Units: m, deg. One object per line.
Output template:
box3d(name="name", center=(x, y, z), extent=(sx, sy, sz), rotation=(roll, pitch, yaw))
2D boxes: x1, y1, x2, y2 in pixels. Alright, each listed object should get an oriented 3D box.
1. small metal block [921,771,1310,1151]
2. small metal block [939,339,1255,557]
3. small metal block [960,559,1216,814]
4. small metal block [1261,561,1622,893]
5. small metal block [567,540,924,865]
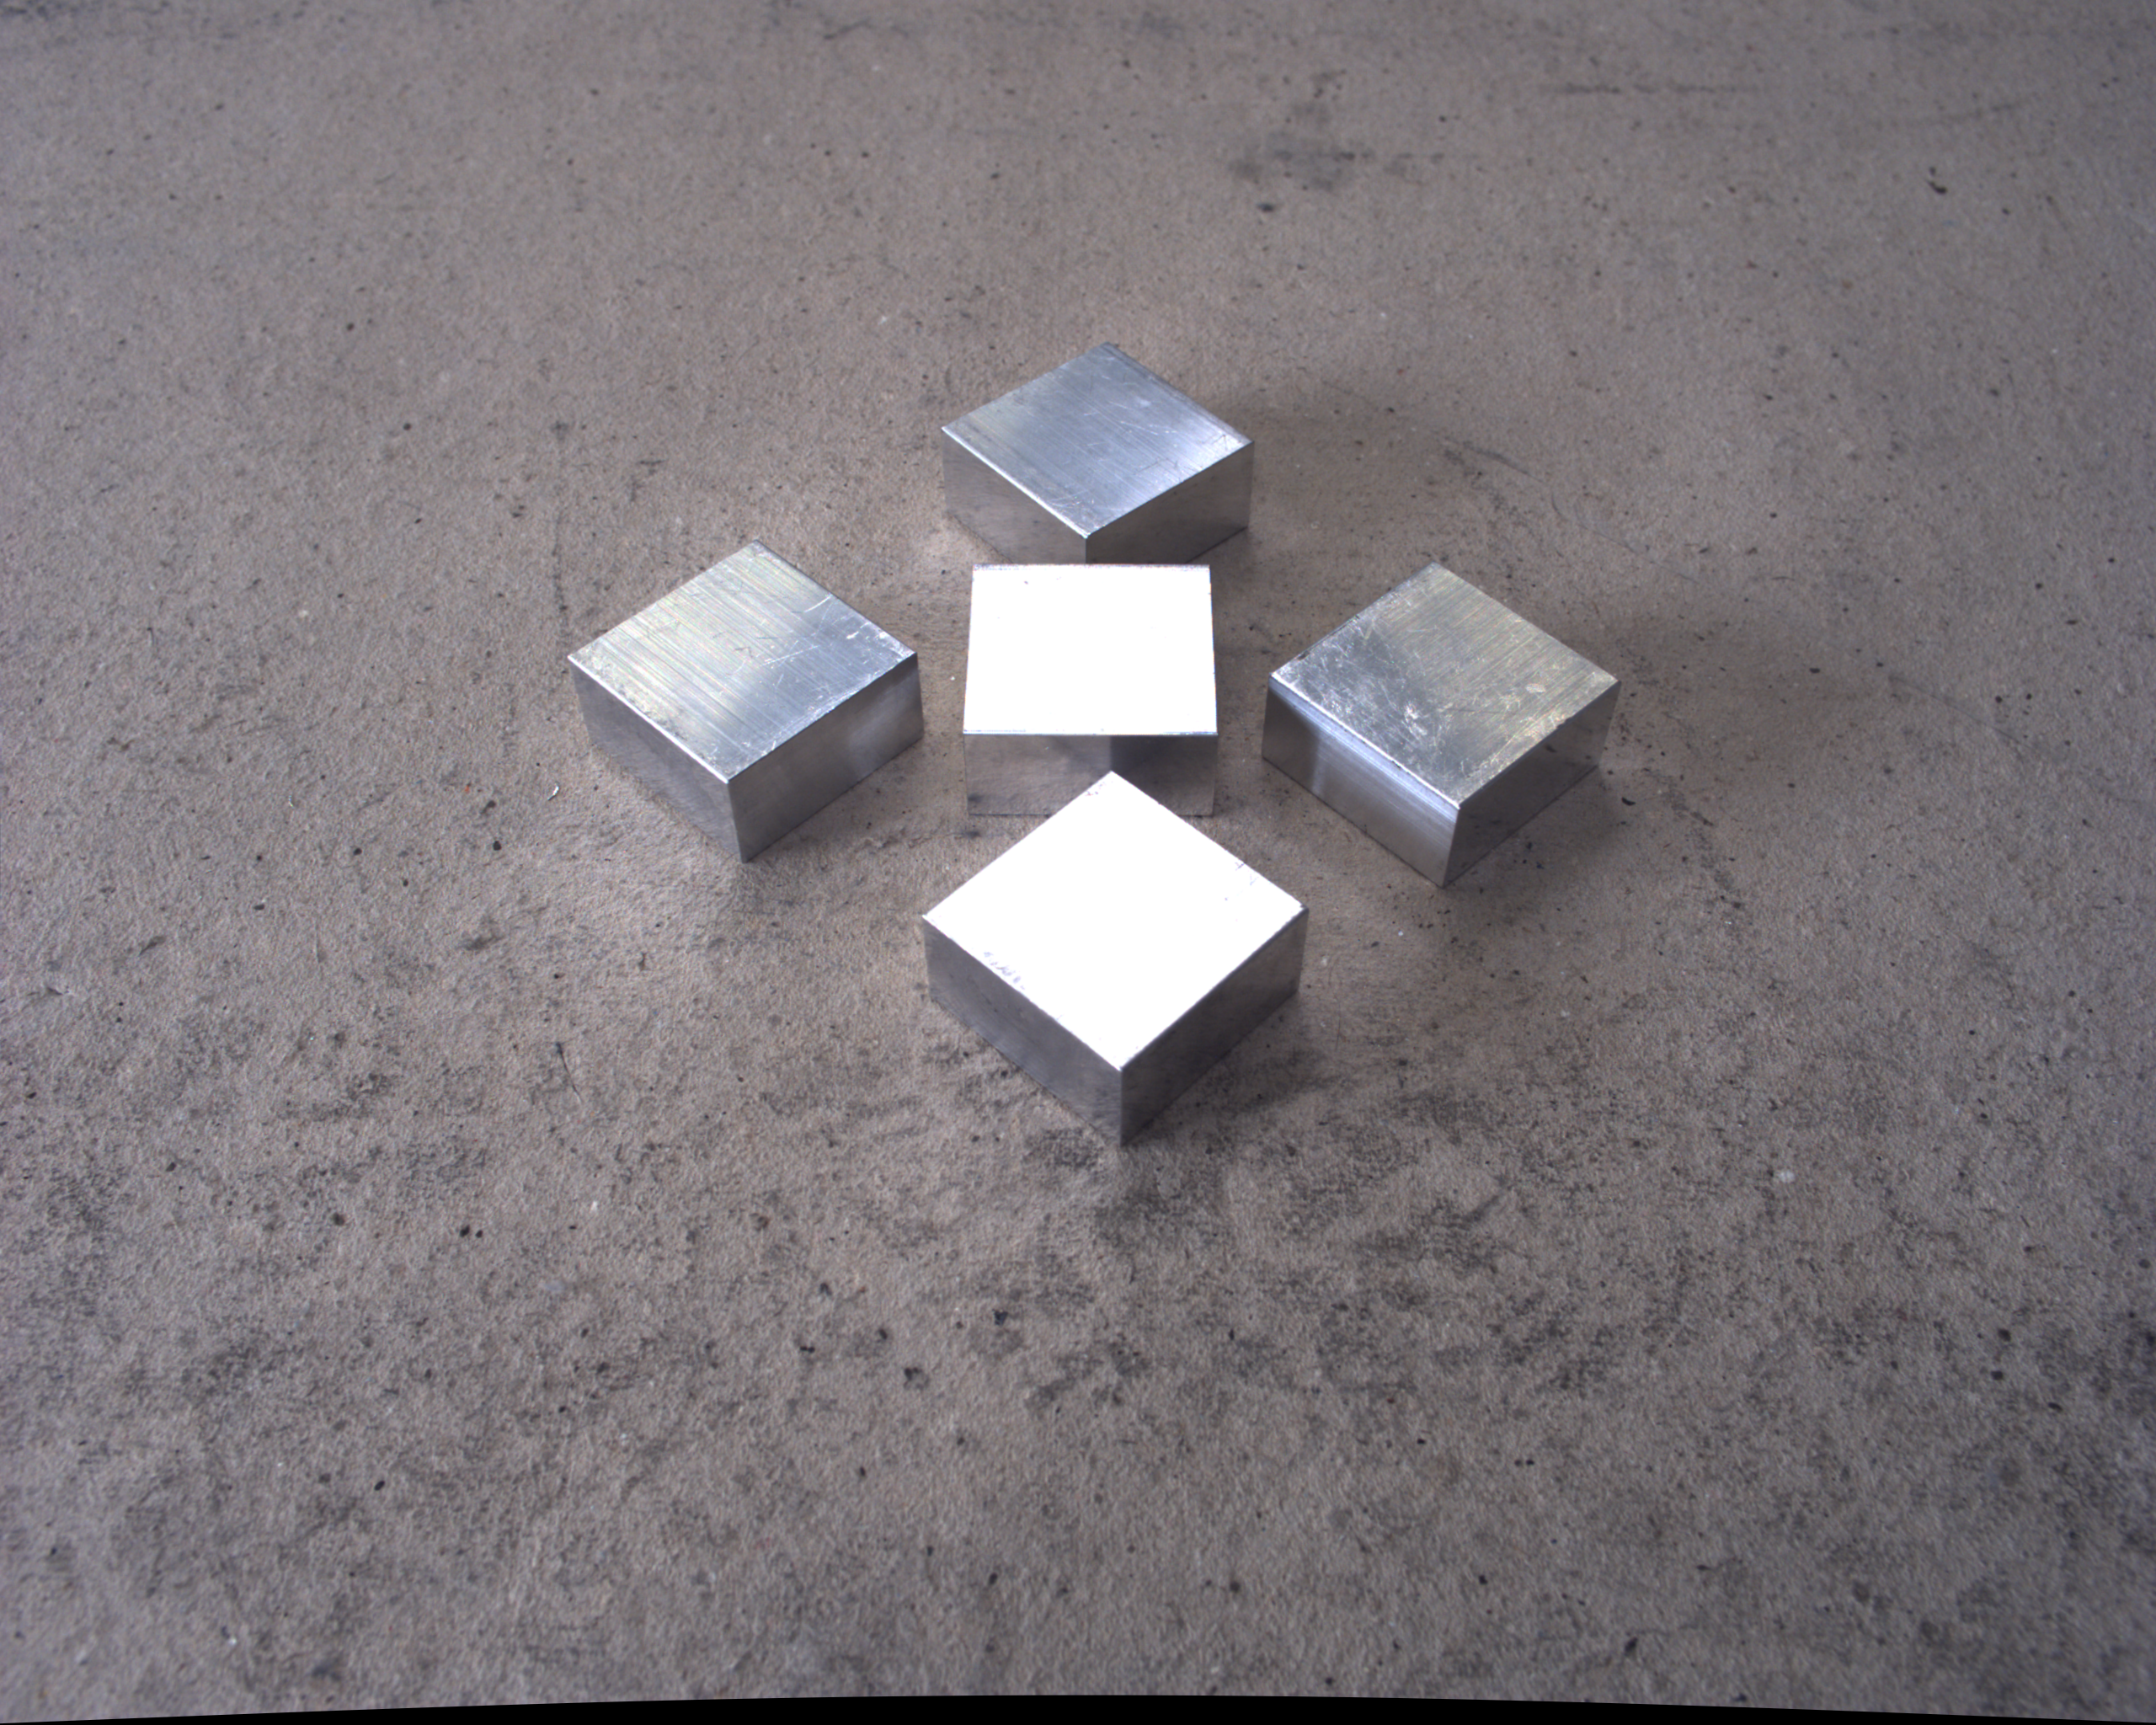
box3d(name="small metal block", center=(0.007, 0.017, 0.390), extent=(0.050, 0.025, 0.050), rotation=(37, 58, 26))
box3d(name="small metal block", center=(0.004, -0.089, 0.478), extent=(0.050, 0.025, 0.050), rotation=(-33, 57, -25))
box3d(name="small metal block", center=(0.002, -0.037, 0.435), extent=(0.050, 0.025, 0.050), rotation=(0, 50, 0))
box3d(name="small metal block", center=(0.074, -0.029, 0.430), extent=(0.050, 0.025, 0.050), rotation=(-36, 59, -26))
box3d(name="small metal block", center=(-0.068, -0.034, 0.433), extent=(0.050, 0.025, 0.050), rotation=(36, 57, 26))
